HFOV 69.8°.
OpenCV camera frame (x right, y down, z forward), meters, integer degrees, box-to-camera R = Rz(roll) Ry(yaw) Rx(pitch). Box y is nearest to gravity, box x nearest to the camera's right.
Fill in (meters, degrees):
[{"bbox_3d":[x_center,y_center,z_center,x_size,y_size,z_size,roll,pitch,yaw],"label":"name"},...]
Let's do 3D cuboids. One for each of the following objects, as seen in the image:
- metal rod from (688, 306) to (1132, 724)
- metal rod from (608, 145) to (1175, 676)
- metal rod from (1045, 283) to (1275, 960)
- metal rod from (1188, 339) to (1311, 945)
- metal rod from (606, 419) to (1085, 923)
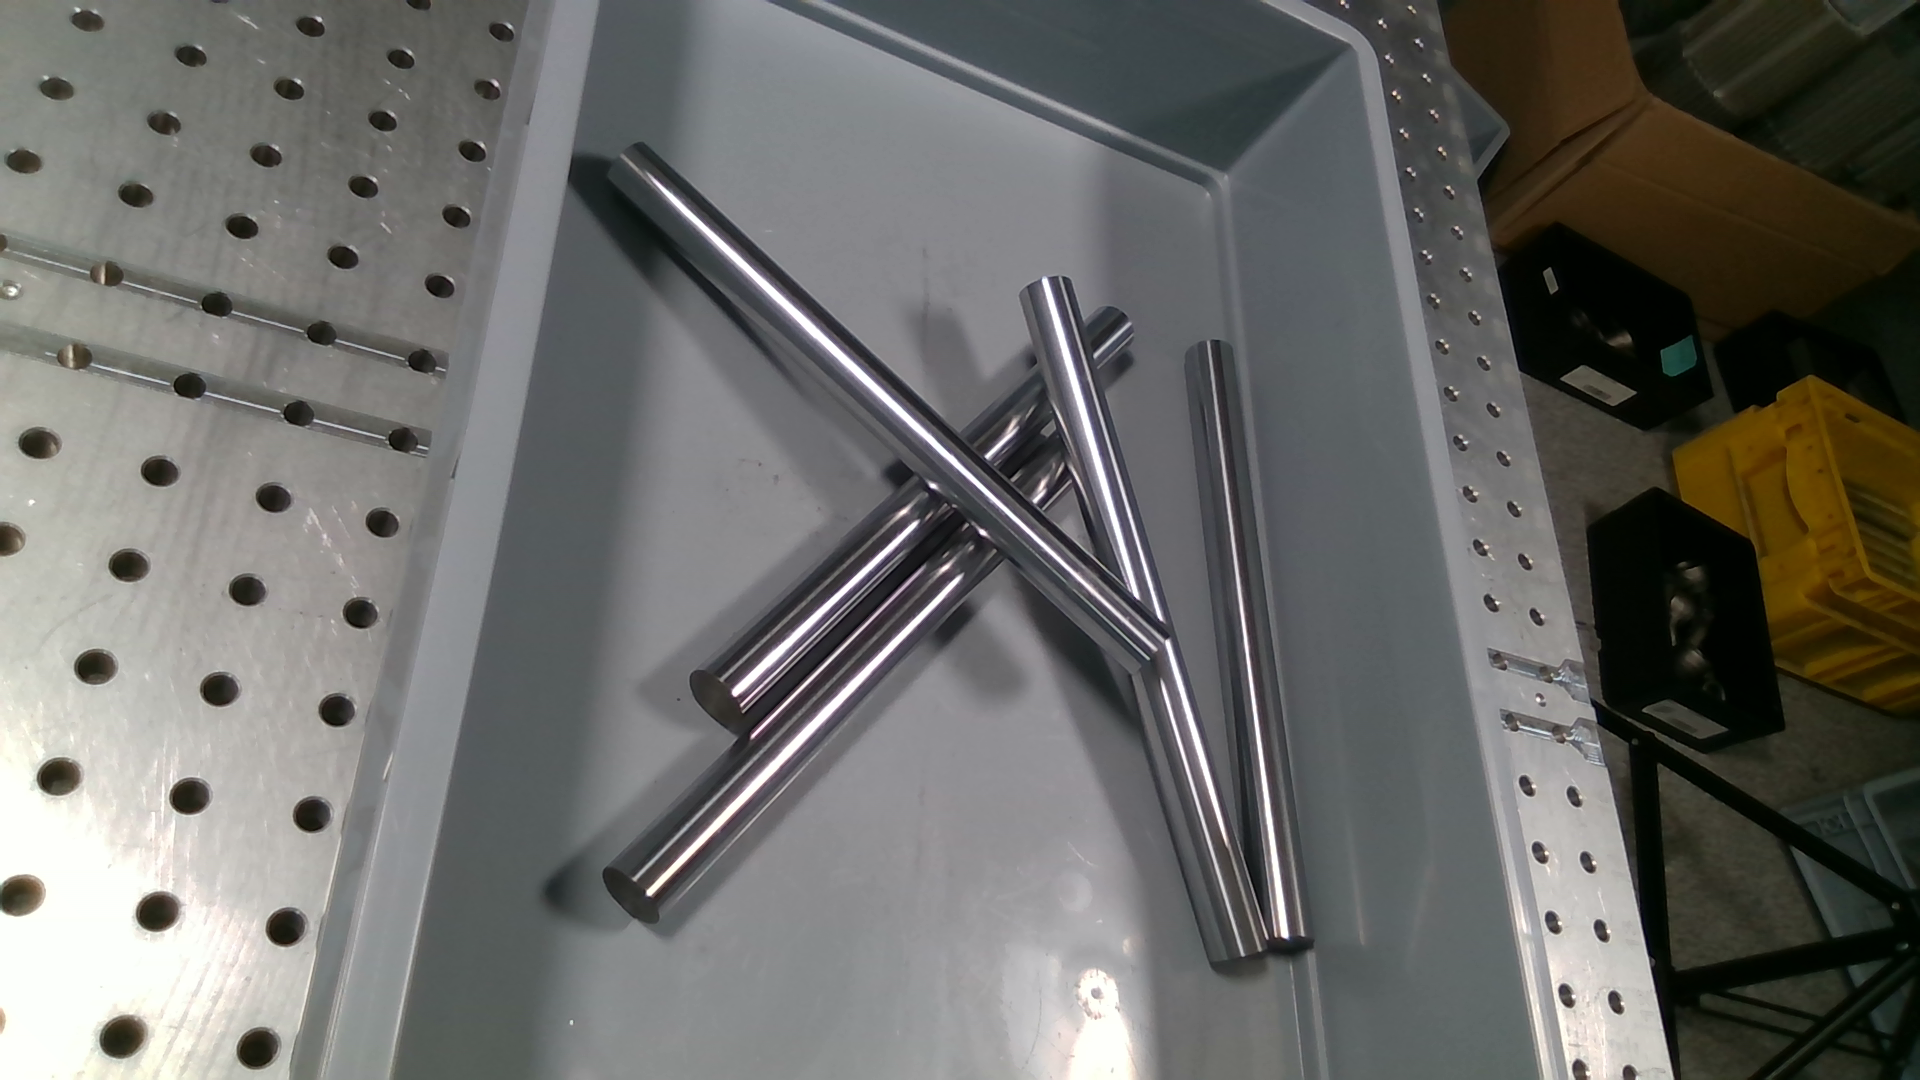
[{"bbox_3d":[-0.007,-0.025,0.595,0.025,0.025,0.299,47,51,-2],"label":"metal rod"},{"bbox_3d":[-0.031,-0.056,0.570,0.300,0.025,0.025,43,51,5],"label":"metal rod"},{"bbox_3d":[0.085,0.029,0.602,0.025,0.025,0.299,-4,74,-33],"label":"metal rod"},{"bbox_3d":[0.132,0.035,0.648,0.025,0.025,0.299,13,59,-25],"label":"metal rod"},{"bbox_3d":[-0.026,0.036,0.551,0.025,0.025,0.299,47,51,-2],"label":"metal rod"}]
